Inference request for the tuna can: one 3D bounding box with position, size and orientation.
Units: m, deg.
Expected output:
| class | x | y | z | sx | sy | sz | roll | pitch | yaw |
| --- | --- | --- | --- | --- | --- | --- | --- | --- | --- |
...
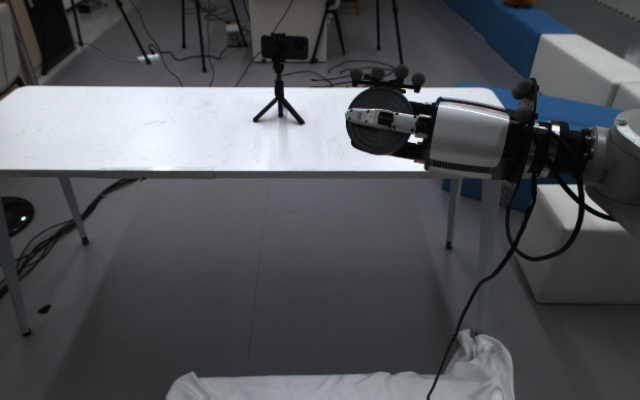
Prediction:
| class | x | y | z | sx | sy | sz | roll | pitch | yaw |
| --- | --- | --- | --- | --- | --- | --- | --- | --- | --- |
| tuna can | 0.078 | -0.103 | 0.622 | 0.085 | 0.085 | 0.034 | 11 | 2 | 12 |
